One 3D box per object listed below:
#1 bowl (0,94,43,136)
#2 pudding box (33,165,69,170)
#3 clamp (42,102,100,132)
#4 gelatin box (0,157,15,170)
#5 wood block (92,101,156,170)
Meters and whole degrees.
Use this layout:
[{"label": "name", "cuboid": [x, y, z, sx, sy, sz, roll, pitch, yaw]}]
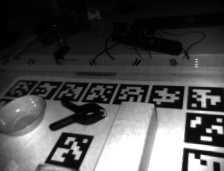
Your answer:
[{"label": "bowl", "cuboid": [-0.284, 0.102, 0.678, 0.161, 0.056, 0.161, -8, 43, 8]}, {"label": "pudding box", "cuboid": [-0.142, 0.233, 0.482, 0.113, 0.039, 0.090, 0, 46, 21]}, {"label": "clamp", "cuboid": [-0.119, 0.088, 0.659, 0.164, 0.037, 0.121, -4, 41, 11]}, {"label": "gelatin box", "cuboid": [-0.311, 0.220, 0.555, 0.088, 0.030, 0.073, 9, 47, 26]}, {"label": "wood block", "cuboid": [0.035, 0.142, 0.491, 0.089, 0.092, 0.206, 5, 44, 22]}]
